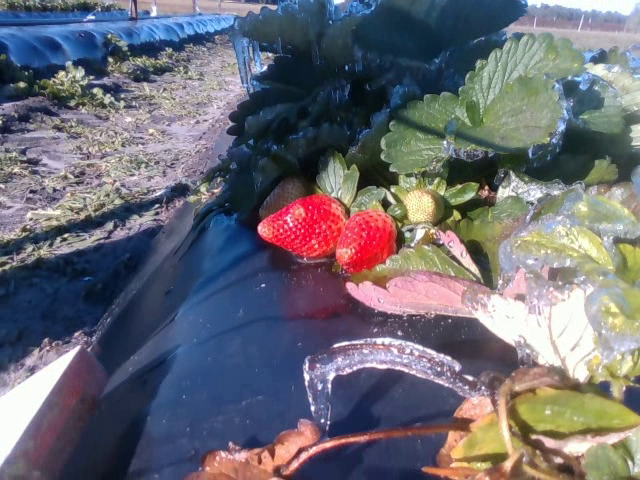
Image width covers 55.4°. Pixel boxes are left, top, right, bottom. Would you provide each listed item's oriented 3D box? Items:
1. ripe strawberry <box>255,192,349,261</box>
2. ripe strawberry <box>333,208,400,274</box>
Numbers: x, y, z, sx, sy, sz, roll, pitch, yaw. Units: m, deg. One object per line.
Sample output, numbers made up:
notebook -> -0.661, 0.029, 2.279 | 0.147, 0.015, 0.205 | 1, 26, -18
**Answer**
ripe strawberry -> -0.012, -0.005, 0.319 | 0.051, 0.040, 0.036 | -4, 0, -32
ripe strawberry -> 0.021, 0.001, 0.297 | 0.036, 0.030, 0.041 | -23, 18, 37
